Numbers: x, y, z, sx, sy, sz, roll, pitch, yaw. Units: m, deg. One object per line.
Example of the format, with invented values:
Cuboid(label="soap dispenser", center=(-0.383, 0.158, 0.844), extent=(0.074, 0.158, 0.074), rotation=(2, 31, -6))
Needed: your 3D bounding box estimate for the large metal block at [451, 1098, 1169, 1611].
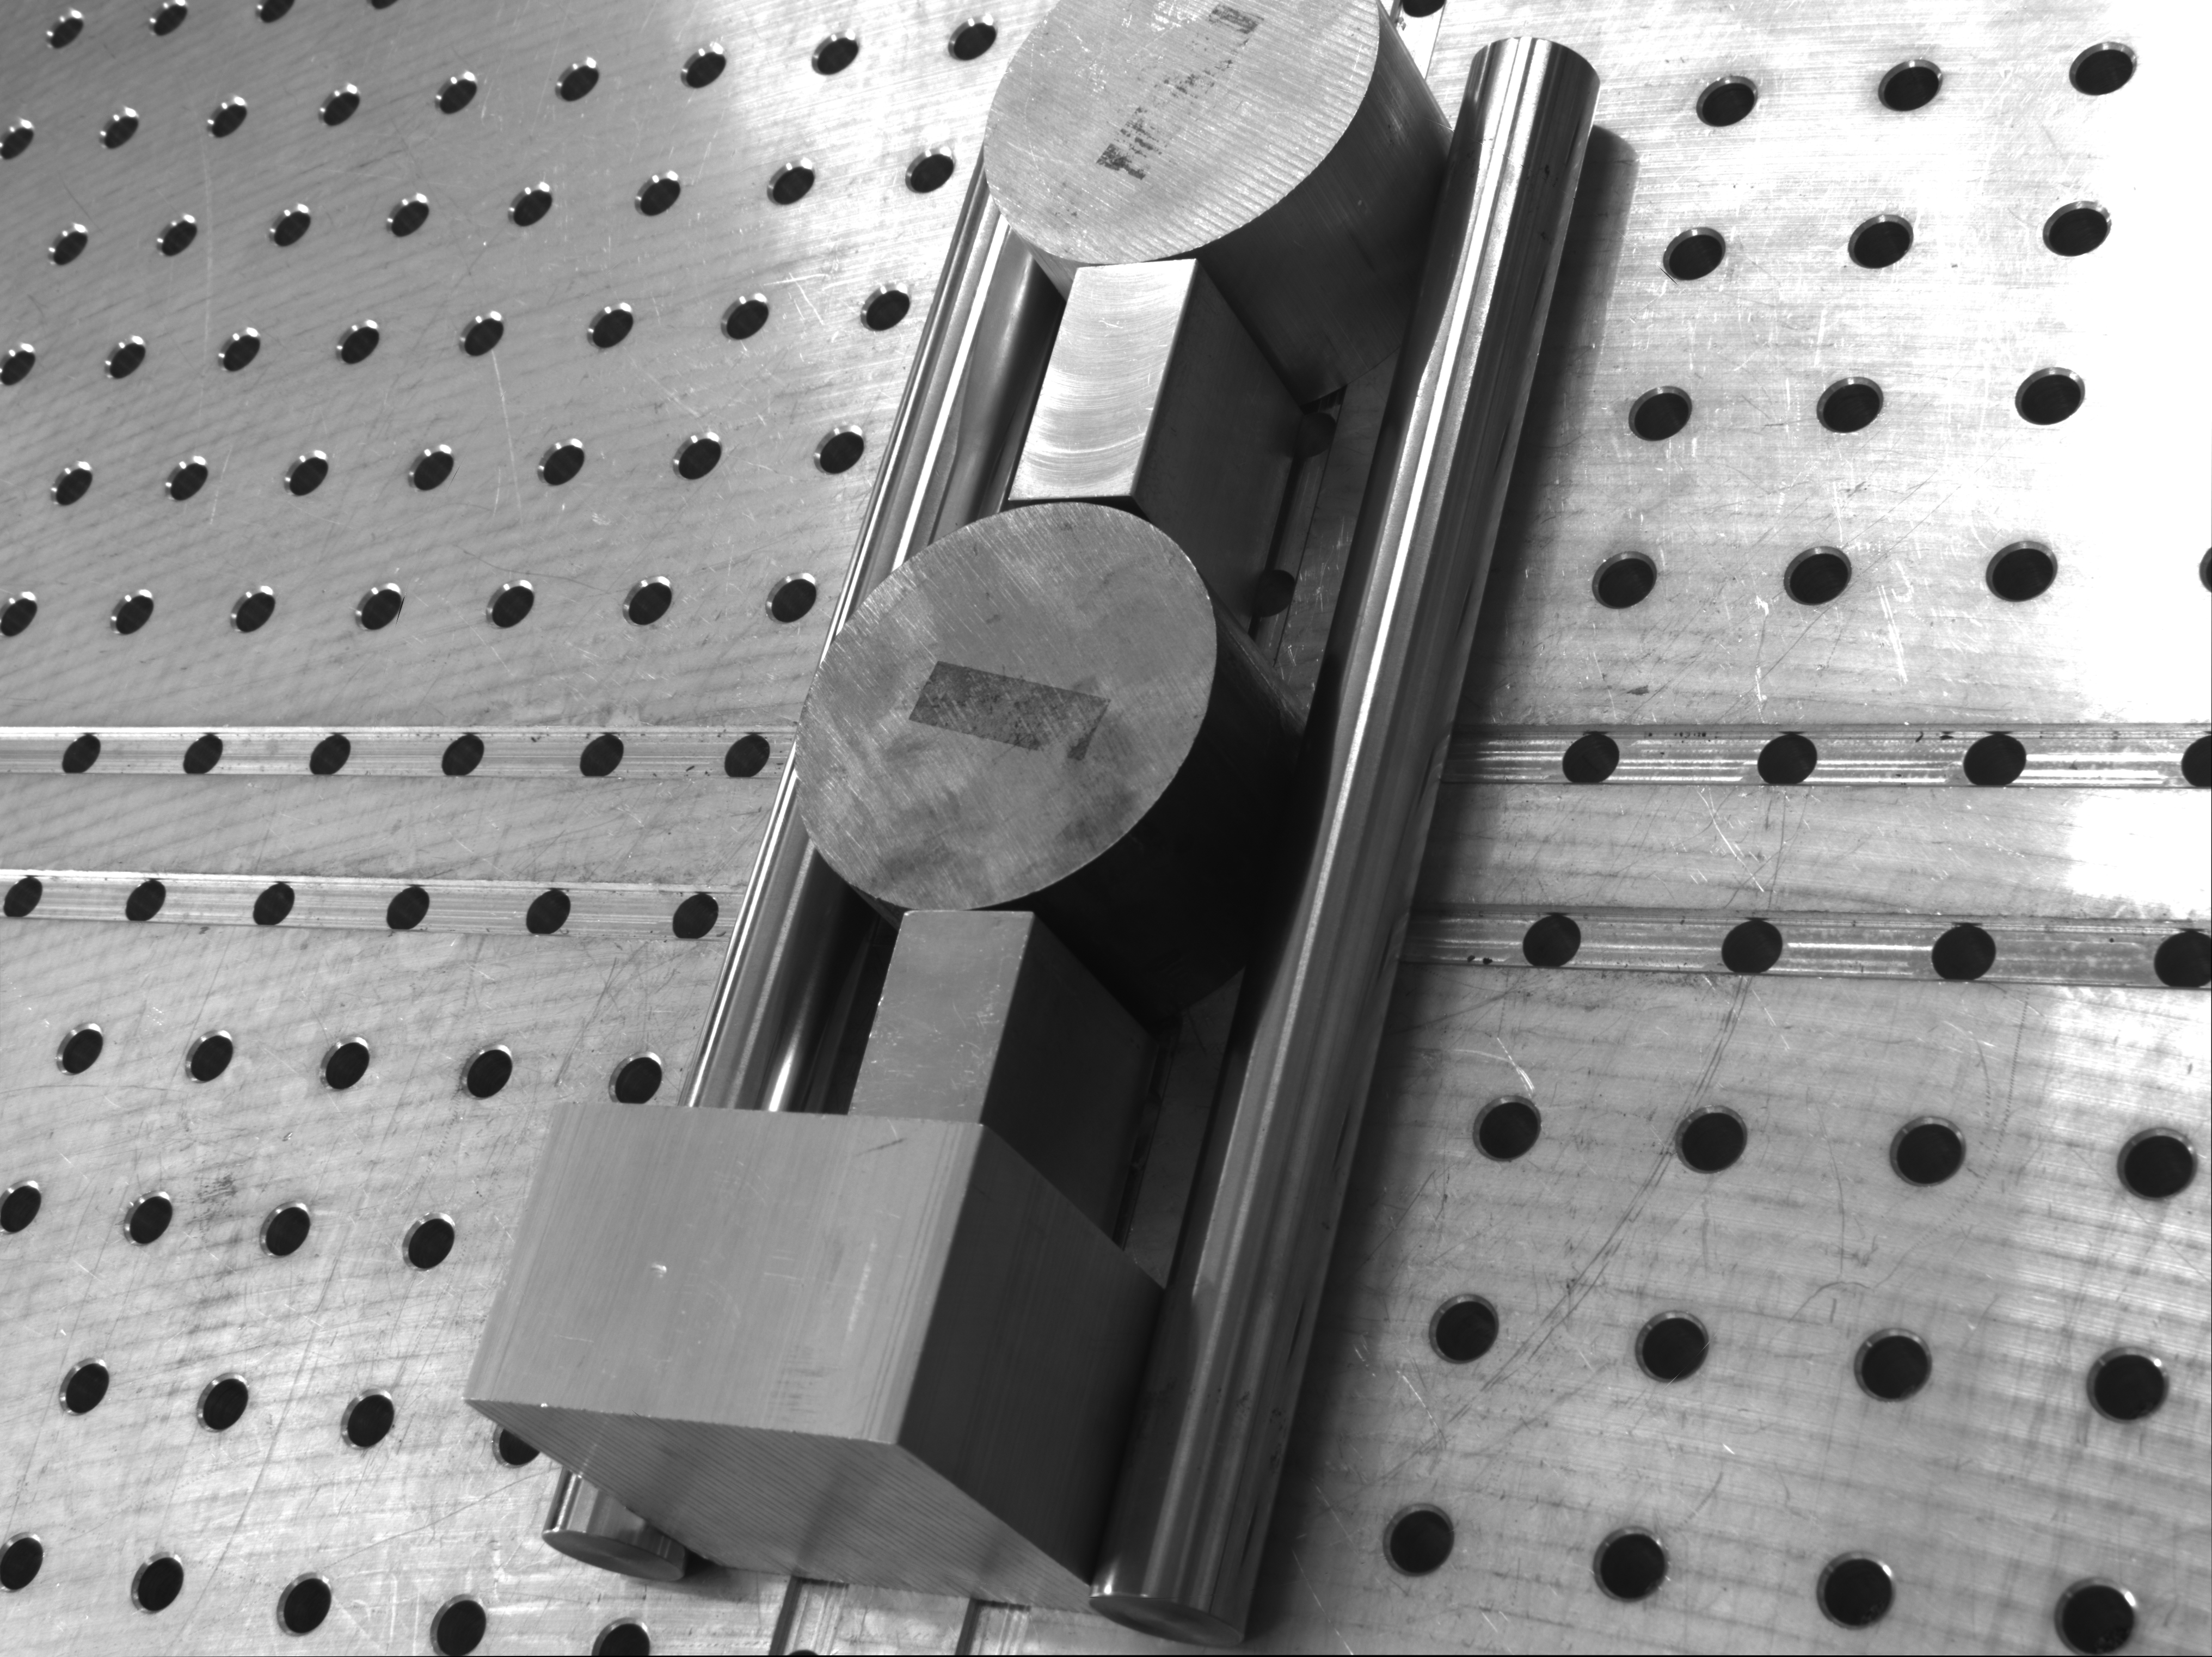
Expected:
Cuboid(label="large metal block", center=(-0.042, 0.084, 0.583), extent=(0.080, 0.080, 0.050), rotation=(1, 62, 29))

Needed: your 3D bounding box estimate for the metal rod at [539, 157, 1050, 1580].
Cuboid(label="metal rod", center=(-0.047, -0.010, 0.678), extent=(0.025, 0.025, 0.300), rotation=(1, 62, 29))

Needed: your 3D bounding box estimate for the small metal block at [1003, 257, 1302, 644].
Cuboid(label="small metal block", center=(0.009, -0.068, 0.667), extent=(0.025, 0.050, 0.050), rotation=(1, 62, 29))

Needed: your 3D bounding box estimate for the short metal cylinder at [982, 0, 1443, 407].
Cuboid(label="short metal cylinder", center=(0.023, -0.125, 0.696), extent=(0.080, 0.050, 0.080), rotation=(-14, 56, 21))

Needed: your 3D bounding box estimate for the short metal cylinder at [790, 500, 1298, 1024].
Cuboid(label="short metal cylinder", center=(-0.008, -0.010, 0.642), extent=(0.080, 0.050, 0.080), rotation=(-14, 56, 21))

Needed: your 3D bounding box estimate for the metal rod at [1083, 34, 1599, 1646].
Cuboid(label="metal rod", center=(0.045, -0.010, 0.628), extent=(0.025, 0.025, 0.300), rotation=(1, 62, 29))

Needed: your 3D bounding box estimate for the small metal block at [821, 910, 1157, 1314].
Cuboid(label="small metal block", center=(-0.019, 0.047, 0.611), extent=(0.025, 0.050, 0.050), rotation=(0, 62, 29))
